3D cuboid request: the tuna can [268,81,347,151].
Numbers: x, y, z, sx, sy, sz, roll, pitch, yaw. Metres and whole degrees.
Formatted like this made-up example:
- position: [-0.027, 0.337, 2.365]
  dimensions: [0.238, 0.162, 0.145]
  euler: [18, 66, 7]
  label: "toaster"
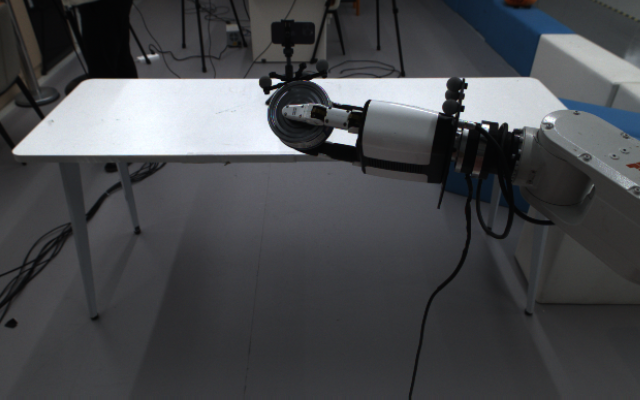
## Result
- position: [-0.020, -0.106, 0.628]
  dimensions: [0.085, 0.085, 0.034]
  euler: [12, -4, 14]
  label: "tuna can"
